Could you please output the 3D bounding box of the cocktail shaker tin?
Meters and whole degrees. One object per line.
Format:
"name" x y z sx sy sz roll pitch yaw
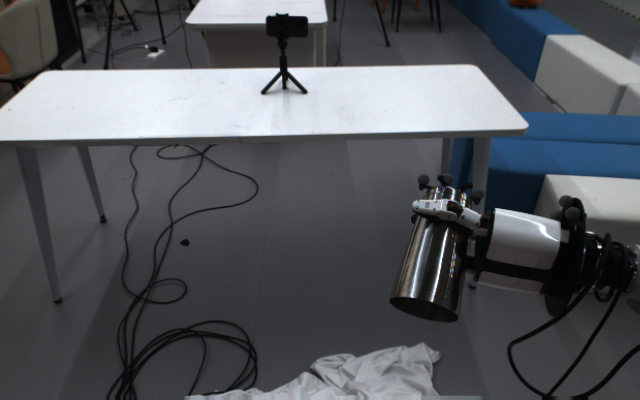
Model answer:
"cocktail shaker tin" 0.161 0.066 0.664 0.093 0.093 0.170 13 65 15
